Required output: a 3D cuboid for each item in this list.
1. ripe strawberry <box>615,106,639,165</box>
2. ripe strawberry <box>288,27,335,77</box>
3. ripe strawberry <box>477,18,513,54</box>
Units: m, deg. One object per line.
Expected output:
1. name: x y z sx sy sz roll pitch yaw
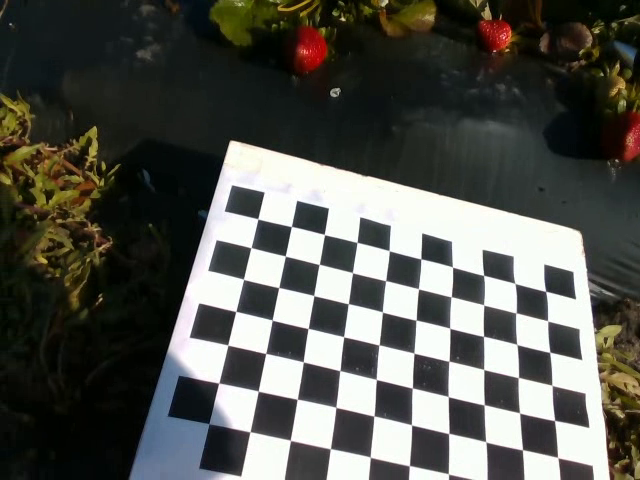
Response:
1. ripe strawberry: 0.240 -0.079 0.496 0.042 0.042 0.059 35 44 3
2. ripe strawberry: -0.014 -0.157 0.515 0.045 0.042 0.055 24 23 -5
3. ripe strawberry: 0.160 -0.195 0.582 0.046 0.035 0.036 19 -36 -14
